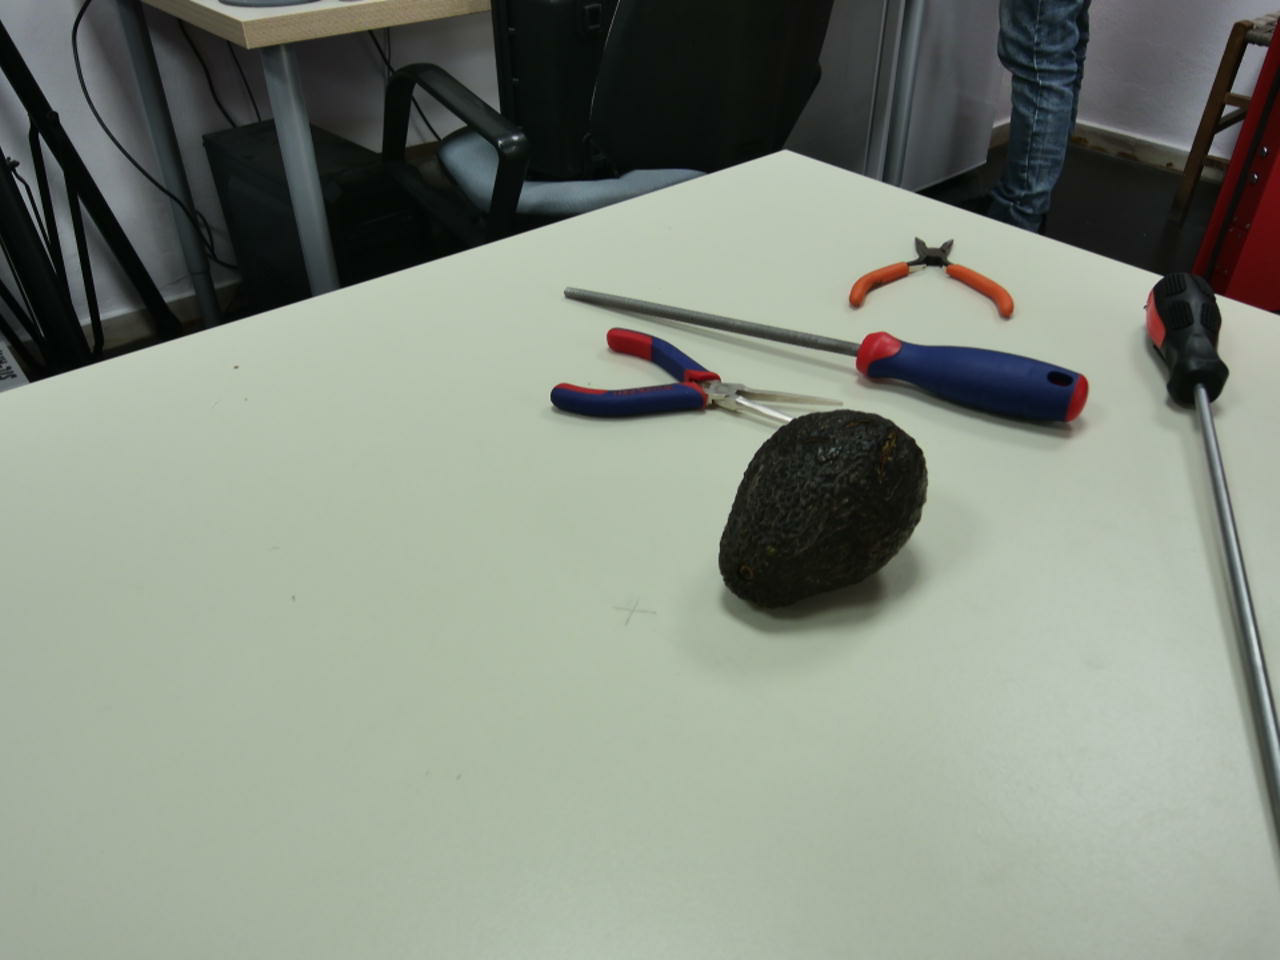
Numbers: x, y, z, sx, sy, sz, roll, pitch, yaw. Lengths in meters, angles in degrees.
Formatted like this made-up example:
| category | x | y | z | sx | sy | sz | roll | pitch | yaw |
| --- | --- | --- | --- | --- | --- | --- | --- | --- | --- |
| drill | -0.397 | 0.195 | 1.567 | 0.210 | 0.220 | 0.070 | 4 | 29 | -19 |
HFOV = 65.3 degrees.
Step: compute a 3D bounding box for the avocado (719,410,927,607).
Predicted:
| category | x | y | z | sx | sy | sz | roll | pitch | yaw |
| --- | --- | --- | --- | --- | --- | --- | --- | --- | --- |
| avocado | 0.073 | 0.007 | 0.409 | 0.090 | 0.069 | 0.070 | -7 | 35 | -10 |
